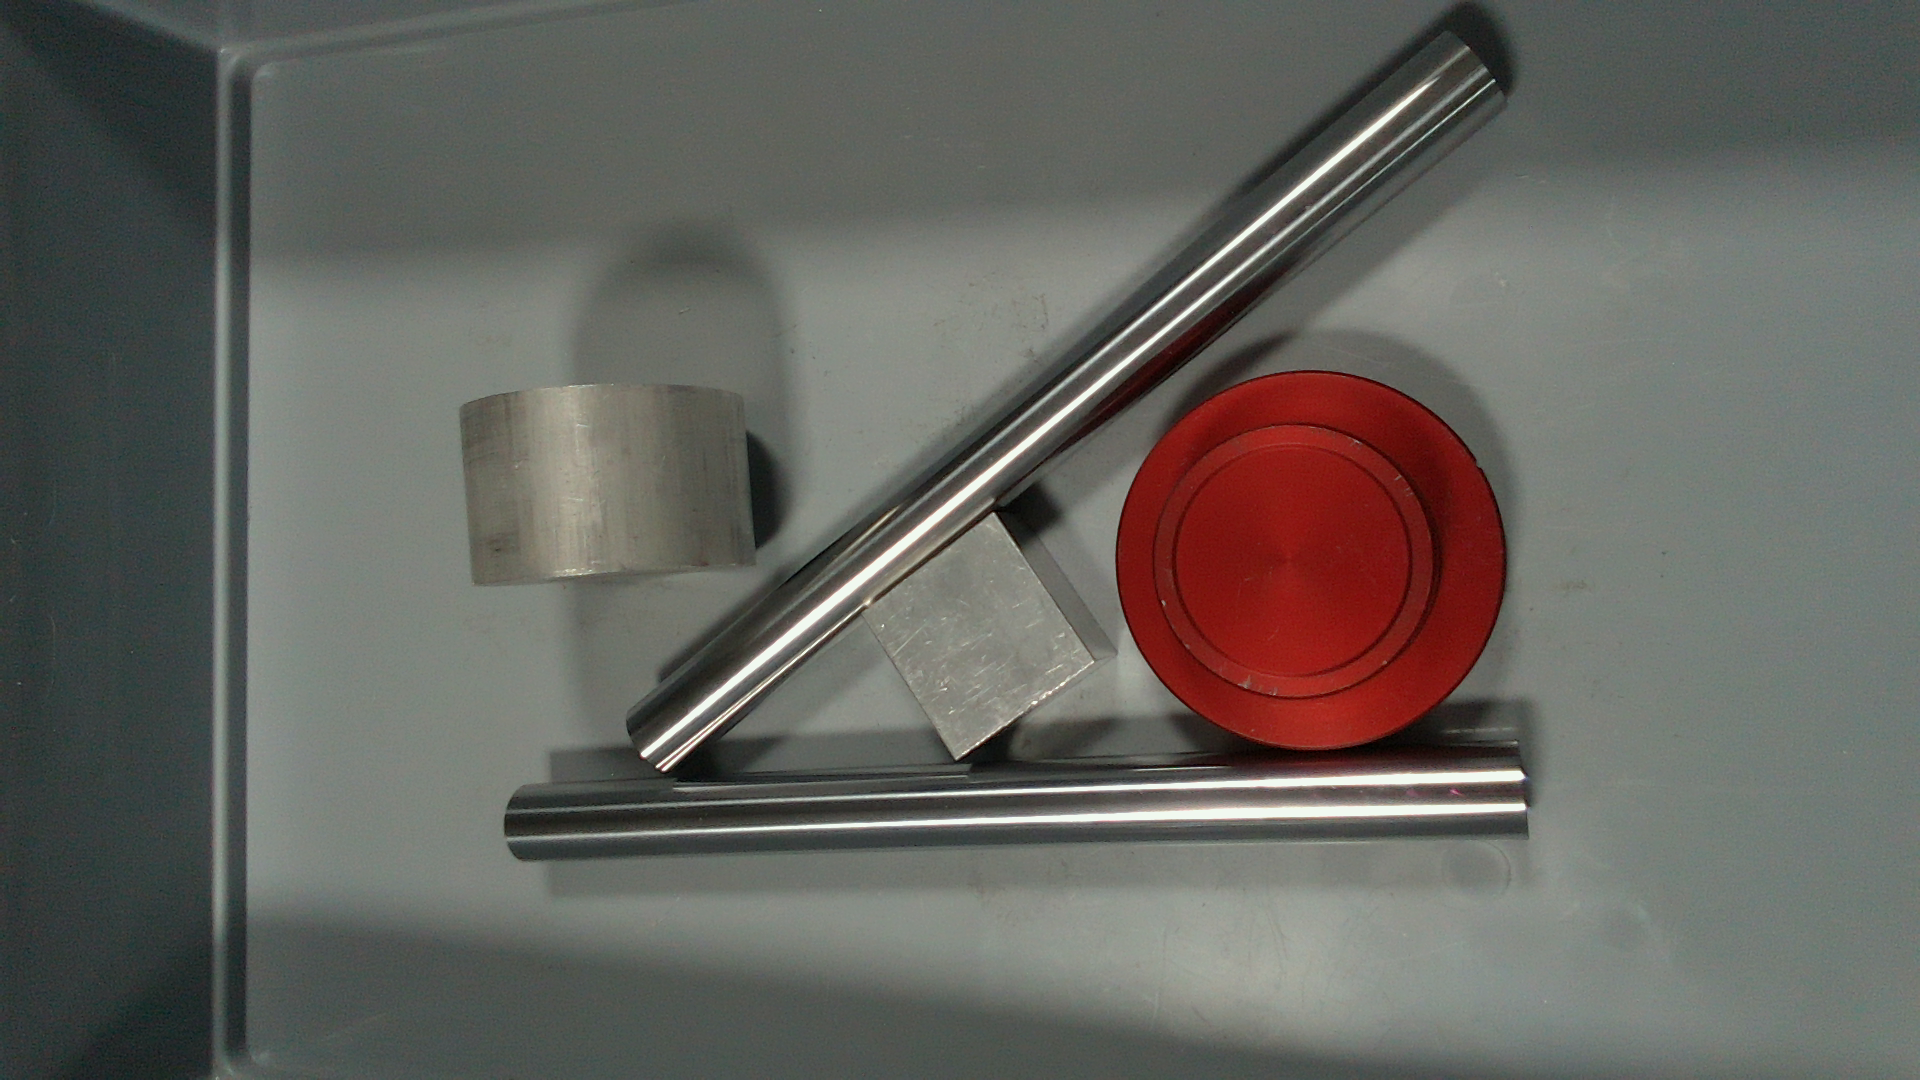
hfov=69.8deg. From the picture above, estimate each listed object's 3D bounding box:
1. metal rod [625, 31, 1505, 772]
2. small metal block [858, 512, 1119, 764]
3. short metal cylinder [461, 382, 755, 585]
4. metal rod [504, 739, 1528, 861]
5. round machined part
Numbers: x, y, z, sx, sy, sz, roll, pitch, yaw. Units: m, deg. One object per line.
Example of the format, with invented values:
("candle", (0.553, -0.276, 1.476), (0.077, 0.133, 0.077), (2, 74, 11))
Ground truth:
("metal rod", (0.017, -0.028, 0.388), (0.299, 0.025, 0.025), (-39, 78, 16))
("small metal block", (0.008, 0.027, 0.391), (0.050, 0.025, 0.050), (-37, 78, 16))
("short metal cylinder", (-0.102, -0.015, 0.403), (0.080, 0.080, 0.050), (-5, 88, 20))
("metal rod", (0.001, 0.077, 0.395), (0.299, 0.025, 0.025), (-6, 88, 20))
("round machined part", (0.087, 0.005, 0.353), (0.098, 0.042, 0.098), (0, 90, 20))
